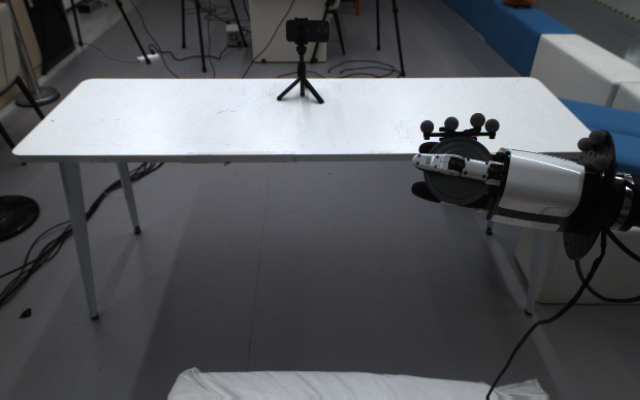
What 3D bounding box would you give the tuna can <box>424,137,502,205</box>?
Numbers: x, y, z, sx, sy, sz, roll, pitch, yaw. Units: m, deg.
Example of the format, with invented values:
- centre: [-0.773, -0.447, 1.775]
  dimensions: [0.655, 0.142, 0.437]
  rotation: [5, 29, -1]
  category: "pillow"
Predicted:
- centre: [0.178, -0.037, 0.618]
  dimensions: [0.085, 0.085, 0.034]
  rotation: [13, -1, 15]
  category: "tuna can"
